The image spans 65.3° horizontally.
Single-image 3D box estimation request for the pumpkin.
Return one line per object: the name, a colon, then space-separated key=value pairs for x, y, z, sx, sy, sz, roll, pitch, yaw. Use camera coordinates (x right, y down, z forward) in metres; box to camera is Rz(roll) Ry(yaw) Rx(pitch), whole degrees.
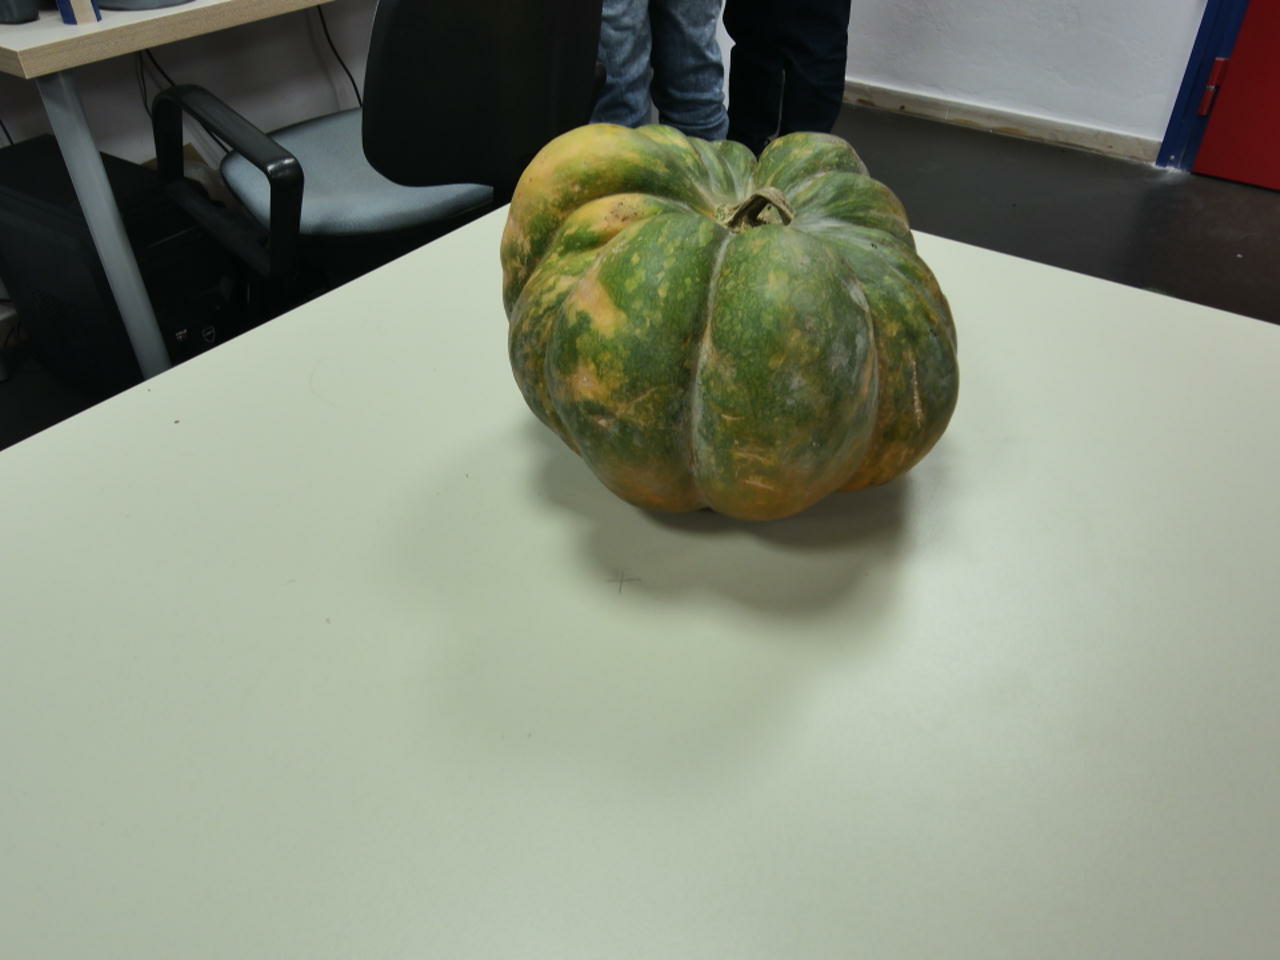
pumpkin: x=0.047 y=-0.091 z=0.534 sx=0.237 sy=0.173 sz=0.270 roll=-9 pitch=38 yaw=-12
